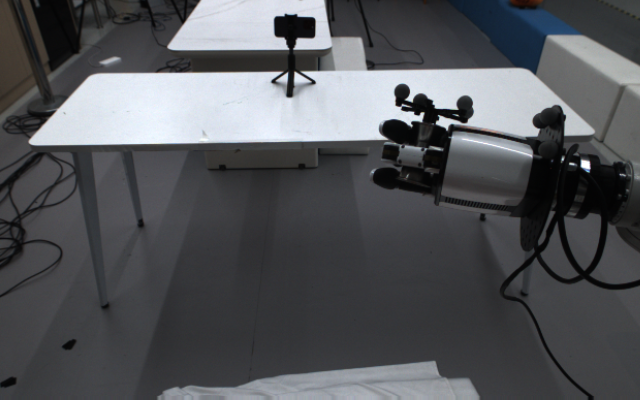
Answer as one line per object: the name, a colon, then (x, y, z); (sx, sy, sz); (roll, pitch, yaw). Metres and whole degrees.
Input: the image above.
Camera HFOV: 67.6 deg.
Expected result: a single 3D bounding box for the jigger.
jigger: (0.119, -0.052, 0.556); (0.043, 0.071, 0.043); (14, 1, 0)
